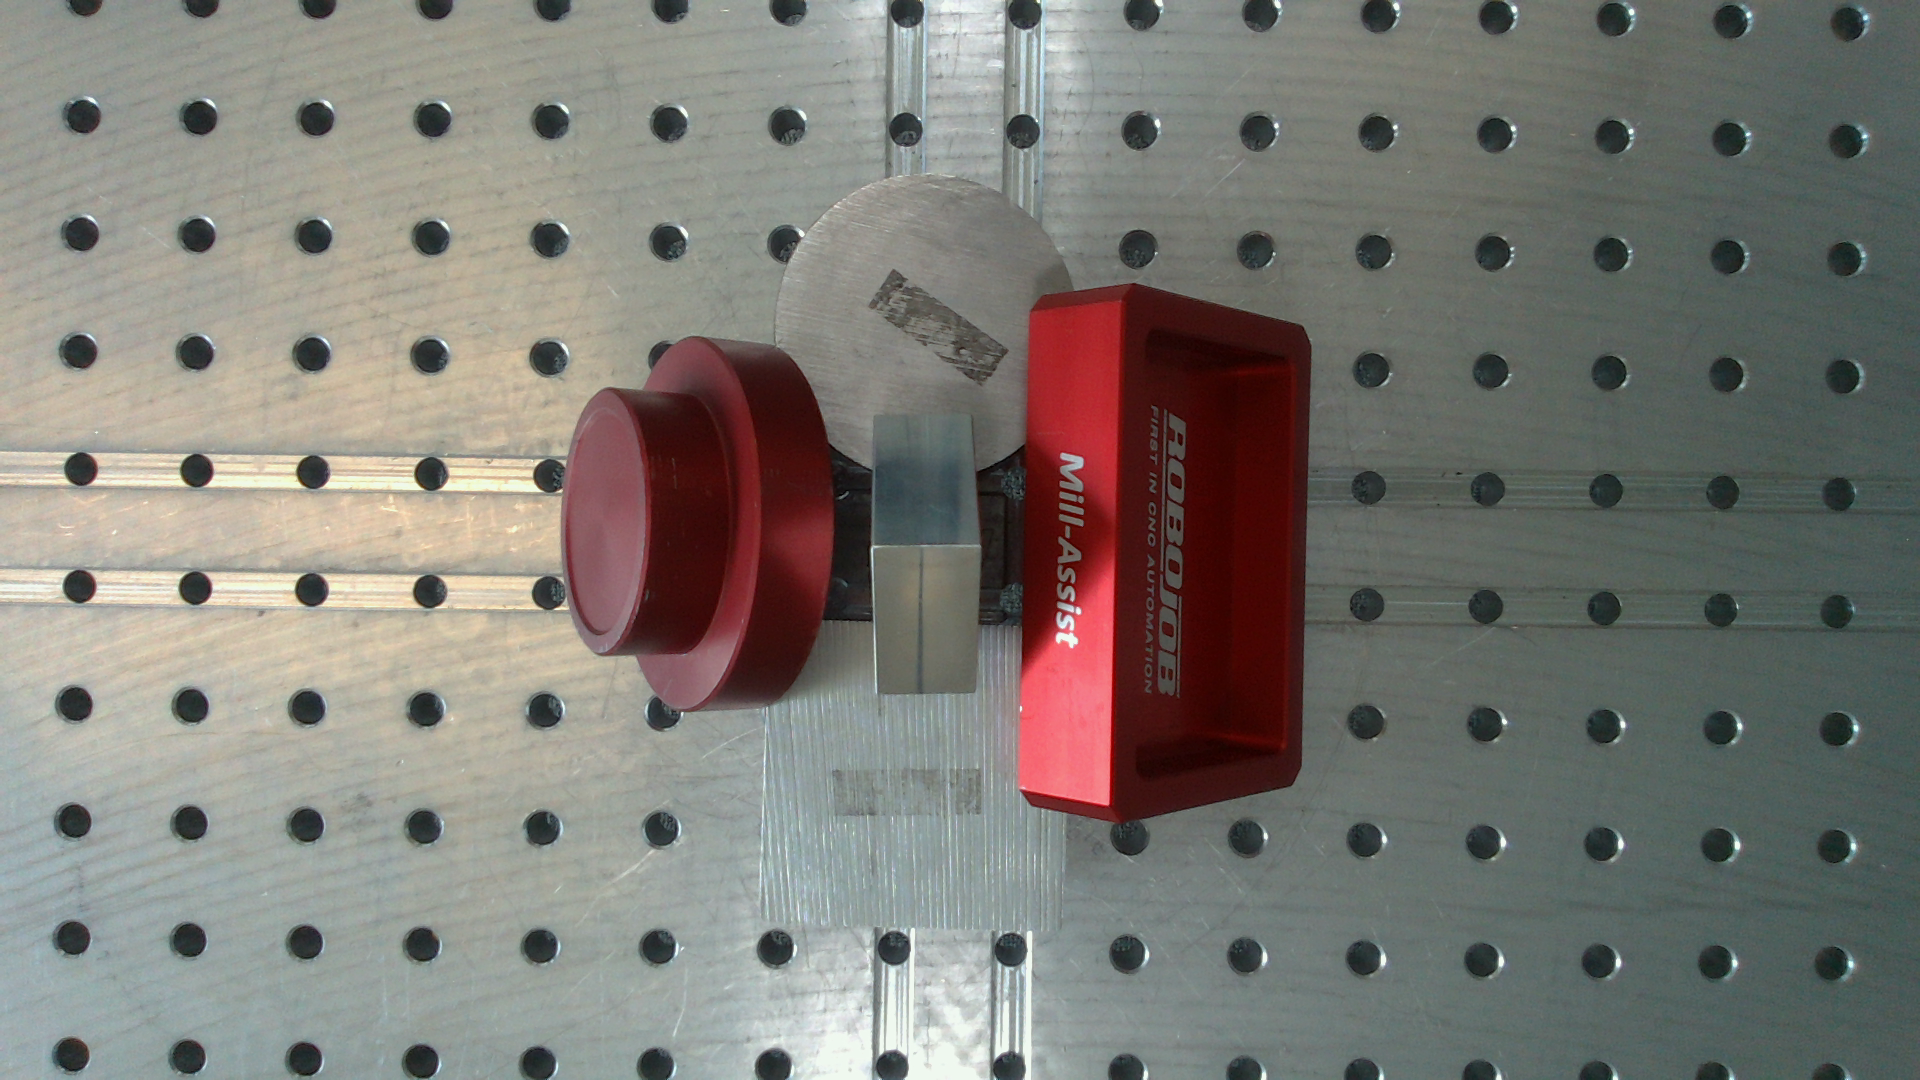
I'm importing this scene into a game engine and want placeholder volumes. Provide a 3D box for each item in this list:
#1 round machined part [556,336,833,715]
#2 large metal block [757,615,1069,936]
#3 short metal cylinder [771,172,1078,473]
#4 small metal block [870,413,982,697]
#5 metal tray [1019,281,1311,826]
[{"bbox_3d":[-0.074,-0.004,0.357,0.042,0.098,0.098,1,90,-33],"label":"round machined part"},{"bbox_3d":[-0.012,0.062,0.385,0.080,0.050,0.080,2,90,0],"label":"large metal block"},{"bbox_3d":[-0.009,-0.056,0.384,0.080,0.050,0.080,0,90,0],"label":"short metal cylinder"},{"bbox_3d":[-0.009,0.003,0.343,0.025,0.050,0.050,0,132,-3],"label":"small metal block"},{"bbox_3d":[0.057,0.004,0.367,0.030,0.090,0.130,1,90,43],"label":"metal tray"}]
